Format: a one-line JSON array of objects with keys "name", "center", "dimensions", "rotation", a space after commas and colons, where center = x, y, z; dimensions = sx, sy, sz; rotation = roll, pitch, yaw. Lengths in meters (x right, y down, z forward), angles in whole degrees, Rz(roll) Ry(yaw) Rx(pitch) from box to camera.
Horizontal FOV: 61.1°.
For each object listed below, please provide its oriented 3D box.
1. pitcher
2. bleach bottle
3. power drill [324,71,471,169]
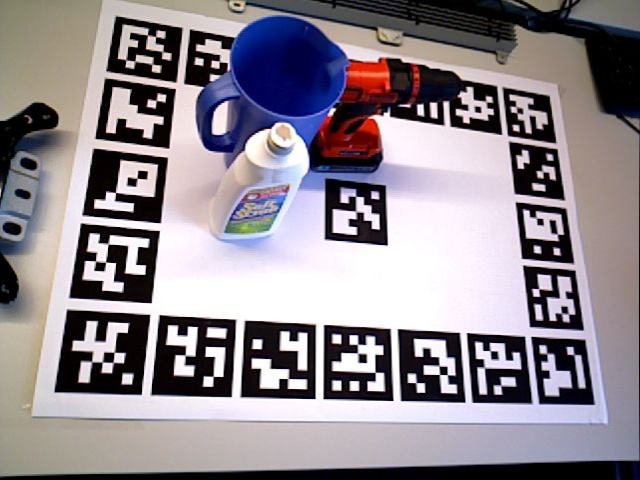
[{"name": "pitcher", "center": [-0.061, -0.159, 0.684], "dimensions": [0.186, 0.247, 0.133], "rotation": [-22, 81, -20]}, {"name": "bleach bottle", "center": [-0.067, -0.070, 0.633], "dimensions": [0.101, 0.255, 0.067], "rotation": [-2, 73, -16]}, {"name": "power drill", "center": [0.098, -0.157, 0.736], "dimensions": [0.182, 0.190, 0.057], "rotation": [2, 75, -21]}]
